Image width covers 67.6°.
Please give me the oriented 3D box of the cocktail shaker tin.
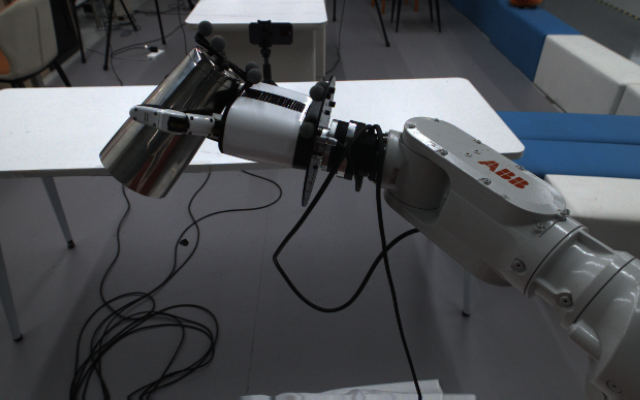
[{"bbox_3d":[-0.171,-0.097,0.577,0.093,0.170,0.093,41,12,-11],"label":"cocktail shaker tin"}]
